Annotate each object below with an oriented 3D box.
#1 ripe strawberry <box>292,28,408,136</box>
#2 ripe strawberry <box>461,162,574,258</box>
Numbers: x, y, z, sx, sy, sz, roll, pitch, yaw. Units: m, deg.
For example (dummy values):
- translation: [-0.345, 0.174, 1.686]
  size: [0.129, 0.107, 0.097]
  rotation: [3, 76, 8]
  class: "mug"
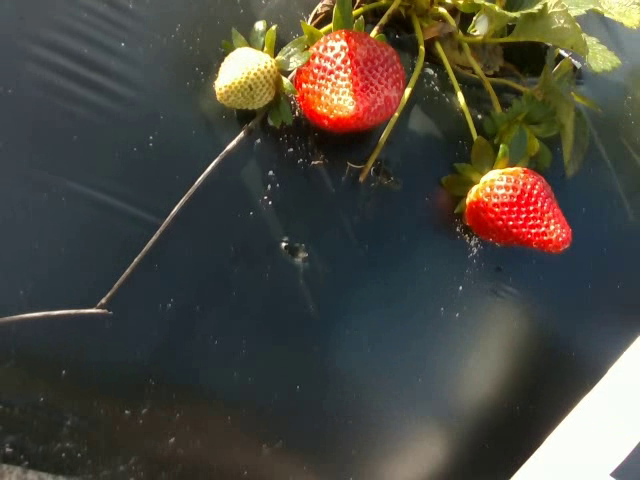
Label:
- translation: [0.010, -0.043, 0.161]
  size: [0.035, 0.041, 0.036]
  rotation: [20, 36, -8]
  class: "ripe strawberry"
- translation: [0.067, -0.008, 0.181]
  size: [0.033, 0.037, 0.039]
  rotation: [41, 18, -35]
  class: "ripe strawberry"
